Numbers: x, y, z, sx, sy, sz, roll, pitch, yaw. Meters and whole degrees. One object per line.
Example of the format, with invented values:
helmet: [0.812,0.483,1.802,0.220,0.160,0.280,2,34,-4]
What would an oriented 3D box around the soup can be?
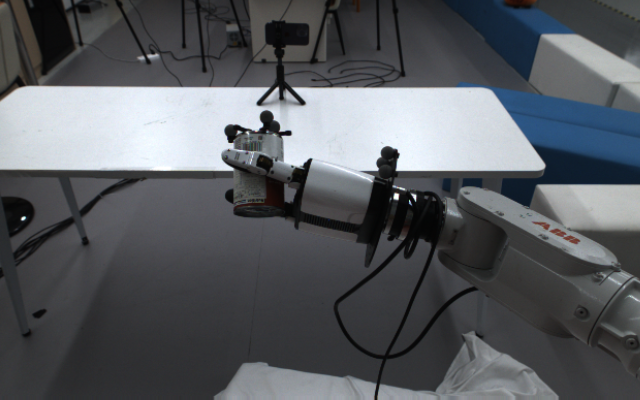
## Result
soup can: [-0.078,-0.033,0.636,0.067,0.067,0.101,-2,77,-6]
